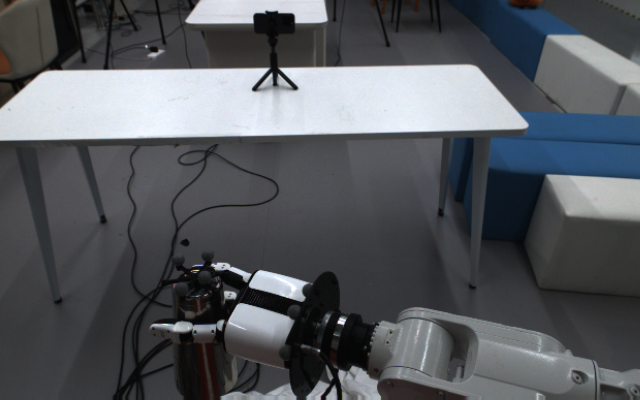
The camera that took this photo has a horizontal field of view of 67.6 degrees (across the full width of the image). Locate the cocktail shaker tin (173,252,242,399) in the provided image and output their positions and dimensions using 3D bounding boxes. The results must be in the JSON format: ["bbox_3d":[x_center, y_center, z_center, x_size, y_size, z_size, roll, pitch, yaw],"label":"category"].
[{"bbox_3d":[-0.165,0.184,0.685,0.093,0.170,0.093,2,26,-1],"label":"cocktail shaker tin"}]
